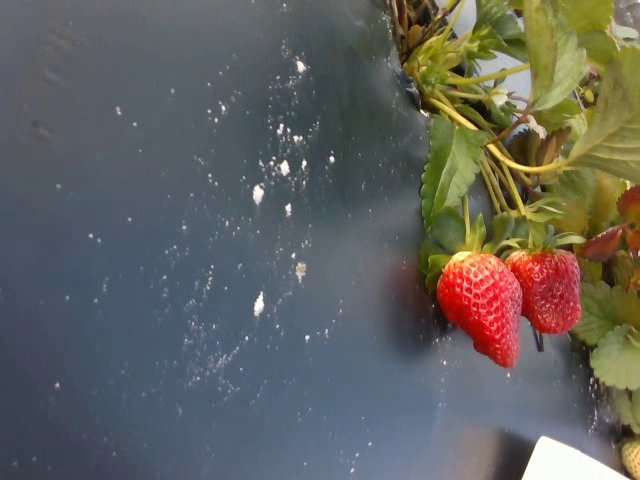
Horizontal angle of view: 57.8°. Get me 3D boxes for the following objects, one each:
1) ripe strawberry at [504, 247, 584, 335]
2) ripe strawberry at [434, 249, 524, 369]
[{"bbox_3d":[0.127,0.027,0.310,0.042,0.053,0.034,13,-32,-37],"label":"ripe strawberry"},{"bbox_3d":[0.079,0.033,0.264,0.050,0.061,0.045,20,-40,-37],"label":"ripe strawberry"}]
